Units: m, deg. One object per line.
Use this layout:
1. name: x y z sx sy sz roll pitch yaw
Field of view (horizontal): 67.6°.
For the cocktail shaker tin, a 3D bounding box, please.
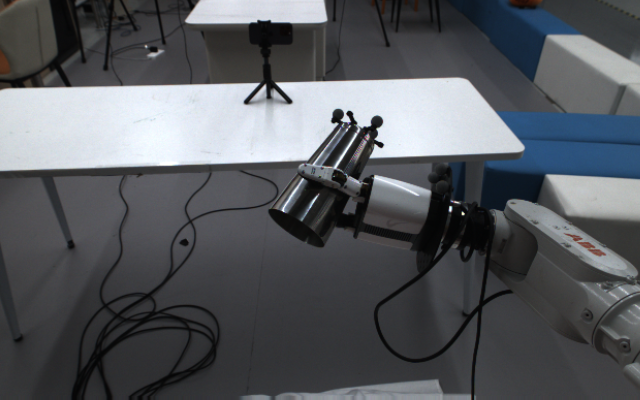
1. cocktail shaker tin: 0.010 -0.033 0.696 0.093 0.093 0.170 22 67 26
